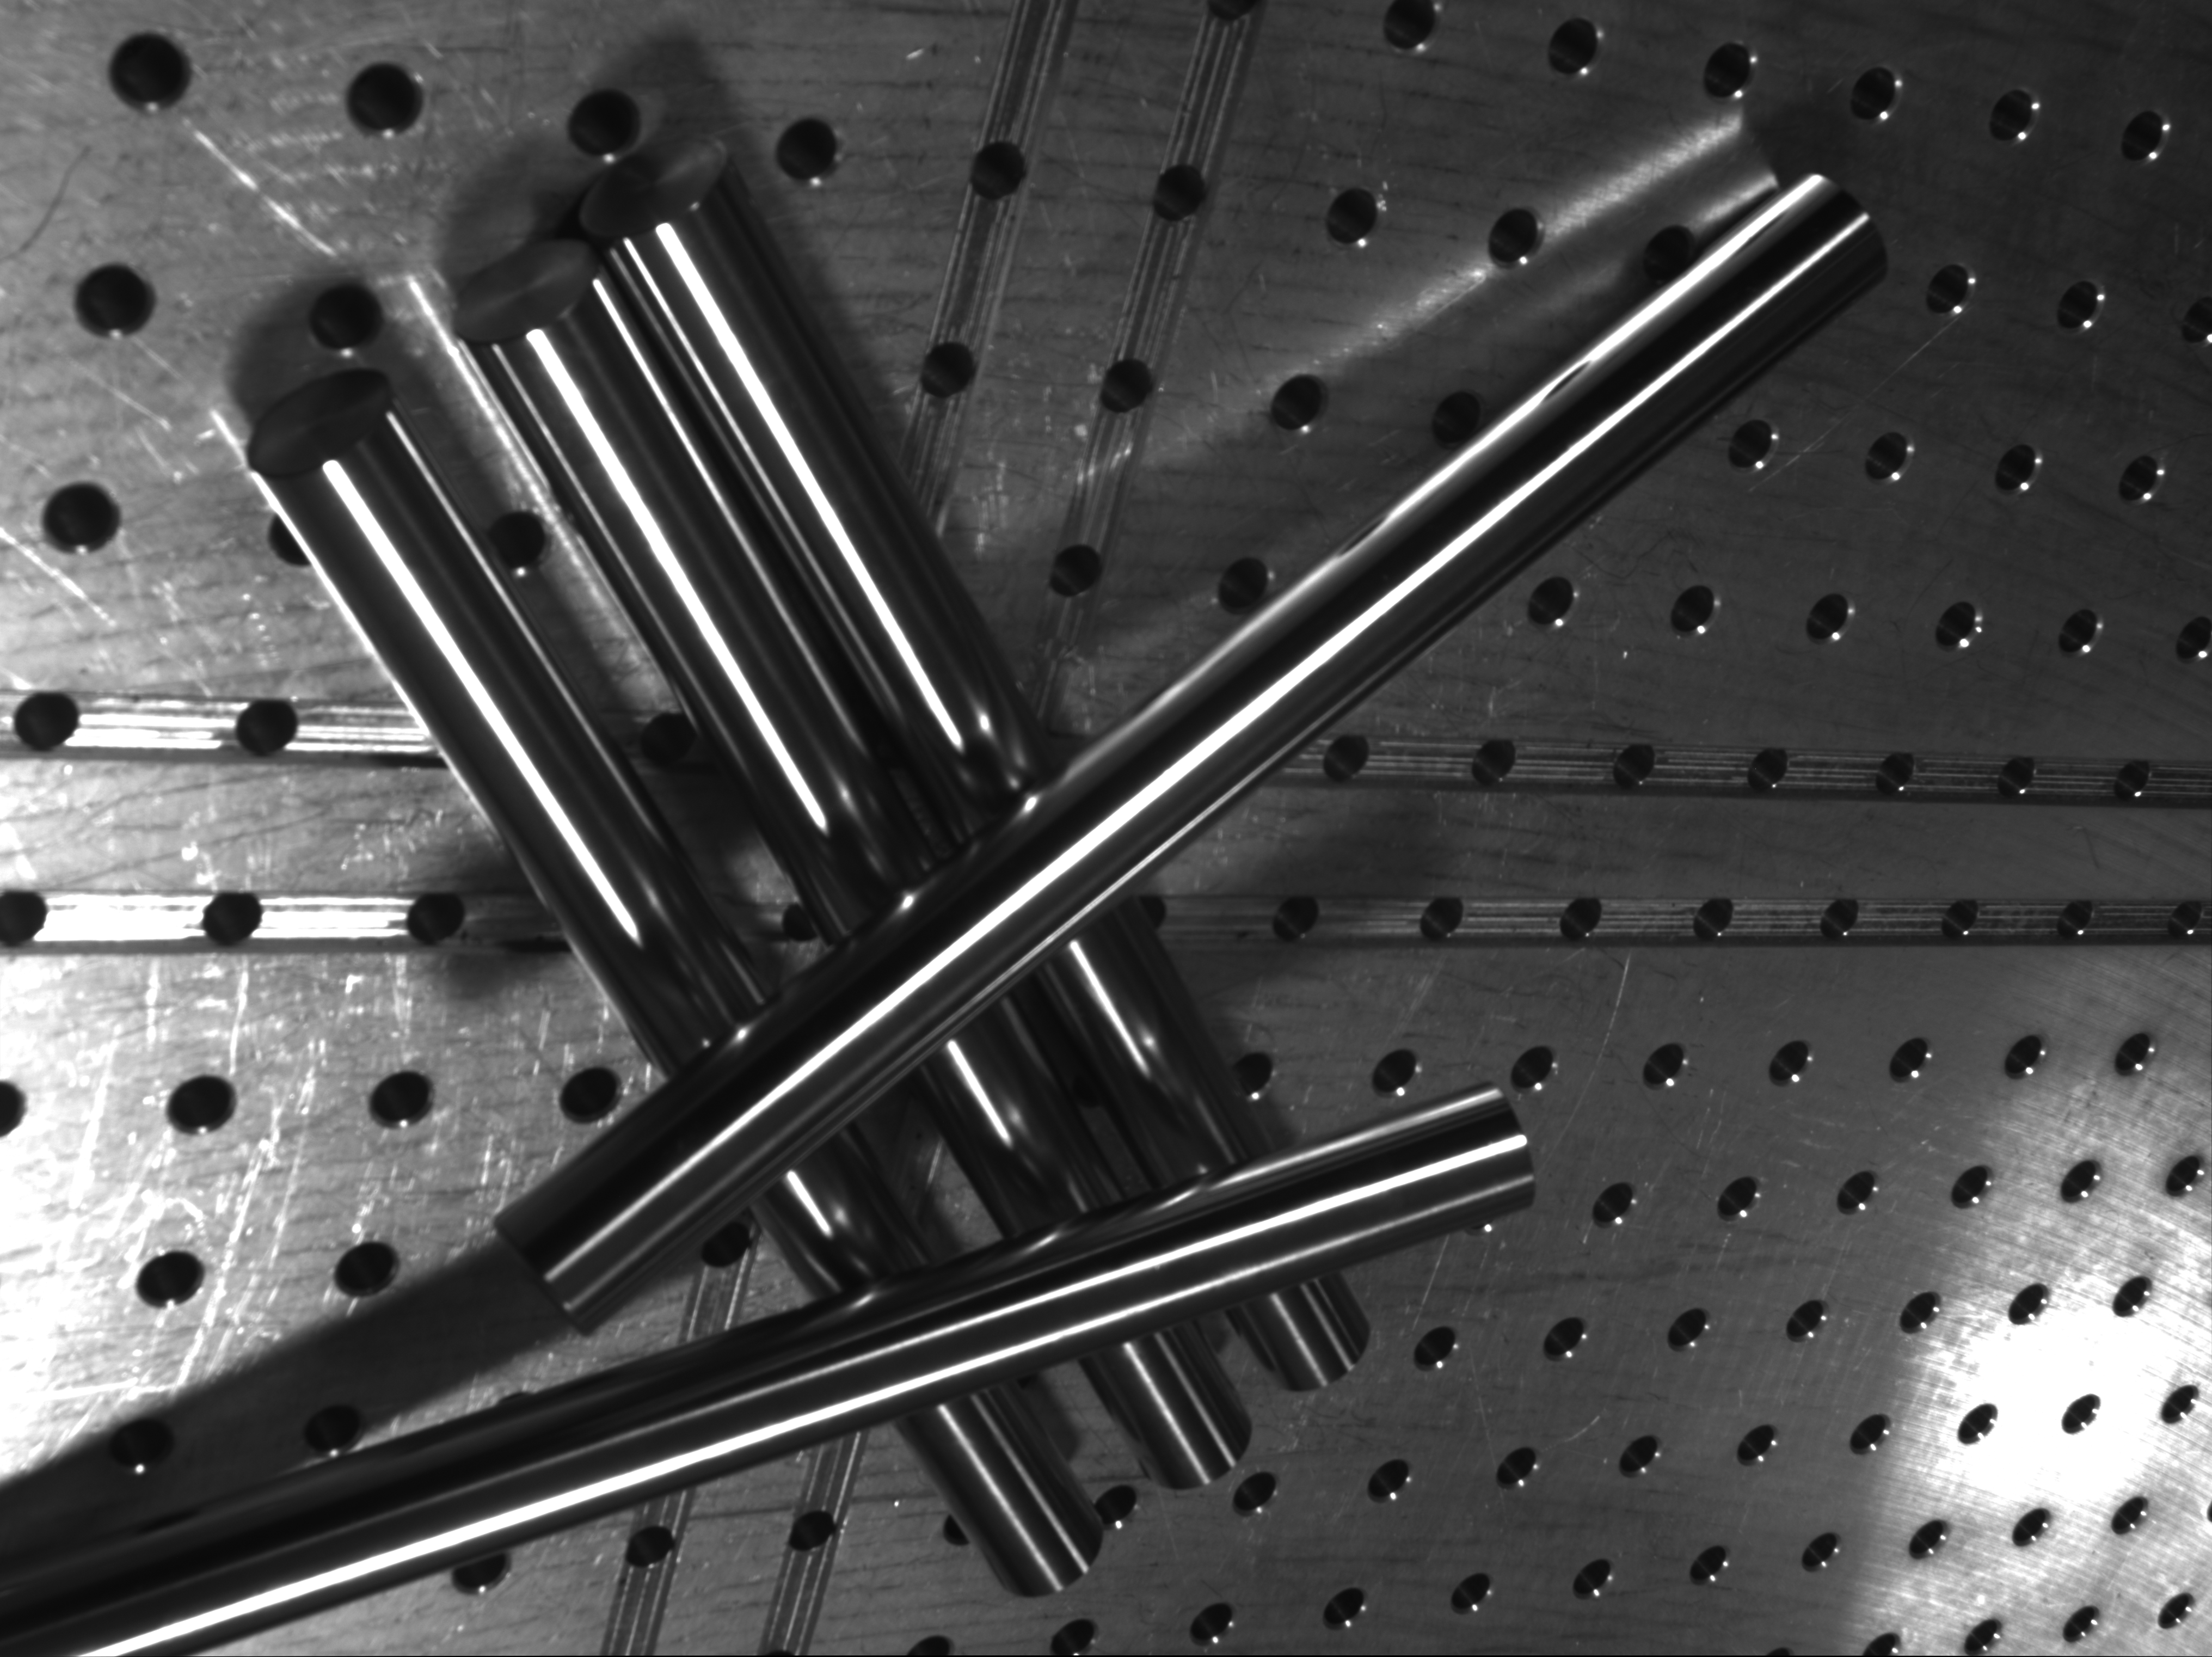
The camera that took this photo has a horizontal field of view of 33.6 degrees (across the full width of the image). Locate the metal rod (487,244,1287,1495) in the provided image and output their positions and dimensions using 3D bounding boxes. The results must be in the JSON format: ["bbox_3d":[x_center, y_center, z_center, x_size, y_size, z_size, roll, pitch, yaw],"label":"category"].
[{"bbox_3d":[-0.029,0.022,0.651,0.025,0.025,0.301,-34,130,-8],"label":"metal rod"}]

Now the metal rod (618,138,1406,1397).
[{"bbox_3d":[-0.007,0.004,0.652,0.025,0.025,0.301,-35,130,-7],"label":"metal rod"}]

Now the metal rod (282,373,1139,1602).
[{"bbox_3d":[-0.059,0.043,0.646,0.025,0.025,0.301,-34,130,-8],"label":"metal rod"}]

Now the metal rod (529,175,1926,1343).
[{"bbox_3d":[0.027,-0.017,0.632,0.300,0.025,0.025,-39,131,-14],"label":"metal rod"}]

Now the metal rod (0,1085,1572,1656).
[{"bbox_3d":[-0.059,0.103,0.656,0.300,0.025,0.025,-17,126,-11],"label":"metal rod"}]
